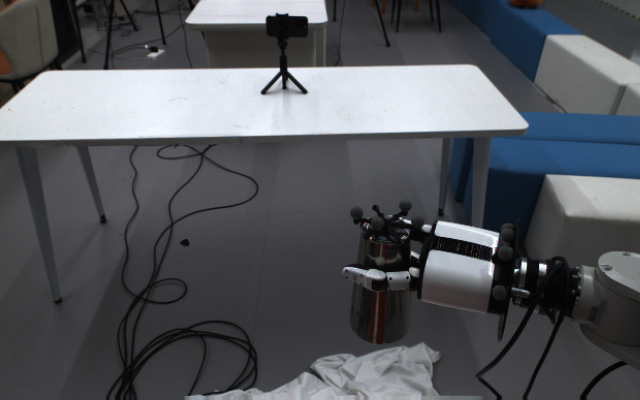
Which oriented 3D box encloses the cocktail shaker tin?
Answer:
[{"bbox_3d":[0.093,0.108,0.688,0.093,0.170,0.093,-1,31,1],"label":"cocktail shaker tin"}]
